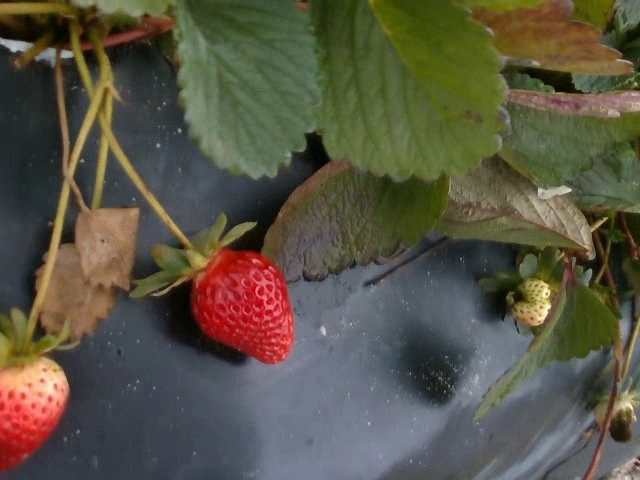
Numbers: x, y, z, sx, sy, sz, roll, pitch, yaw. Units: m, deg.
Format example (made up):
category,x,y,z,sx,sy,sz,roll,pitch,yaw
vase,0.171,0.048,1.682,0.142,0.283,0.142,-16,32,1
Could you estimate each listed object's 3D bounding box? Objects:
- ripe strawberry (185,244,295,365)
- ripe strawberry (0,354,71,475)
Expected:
category,x,y,z,sx,sy,sz,roll,pitch,yaw
ripe strawberry,-0.025,0.024,0.225,0.044,0.059,0.042,-28,27,1
ripe strawberry,-0.087,0.050,0.181,0.036,0.041,0.027,8,13,-31
